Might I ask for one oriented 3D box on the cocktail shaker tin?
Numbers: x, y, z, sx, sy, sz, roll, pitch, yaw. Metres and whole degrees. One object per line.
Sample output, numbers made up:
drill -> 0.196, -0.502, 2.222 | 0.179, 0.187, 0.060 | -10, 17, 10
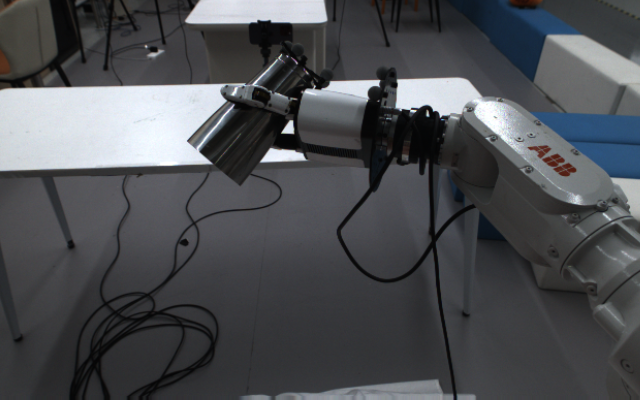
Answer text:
cocktail shaker tin -> -0.086, -0.116, 0.651 | 0.170, 0.093, 0.093 | -48, 49, -4
